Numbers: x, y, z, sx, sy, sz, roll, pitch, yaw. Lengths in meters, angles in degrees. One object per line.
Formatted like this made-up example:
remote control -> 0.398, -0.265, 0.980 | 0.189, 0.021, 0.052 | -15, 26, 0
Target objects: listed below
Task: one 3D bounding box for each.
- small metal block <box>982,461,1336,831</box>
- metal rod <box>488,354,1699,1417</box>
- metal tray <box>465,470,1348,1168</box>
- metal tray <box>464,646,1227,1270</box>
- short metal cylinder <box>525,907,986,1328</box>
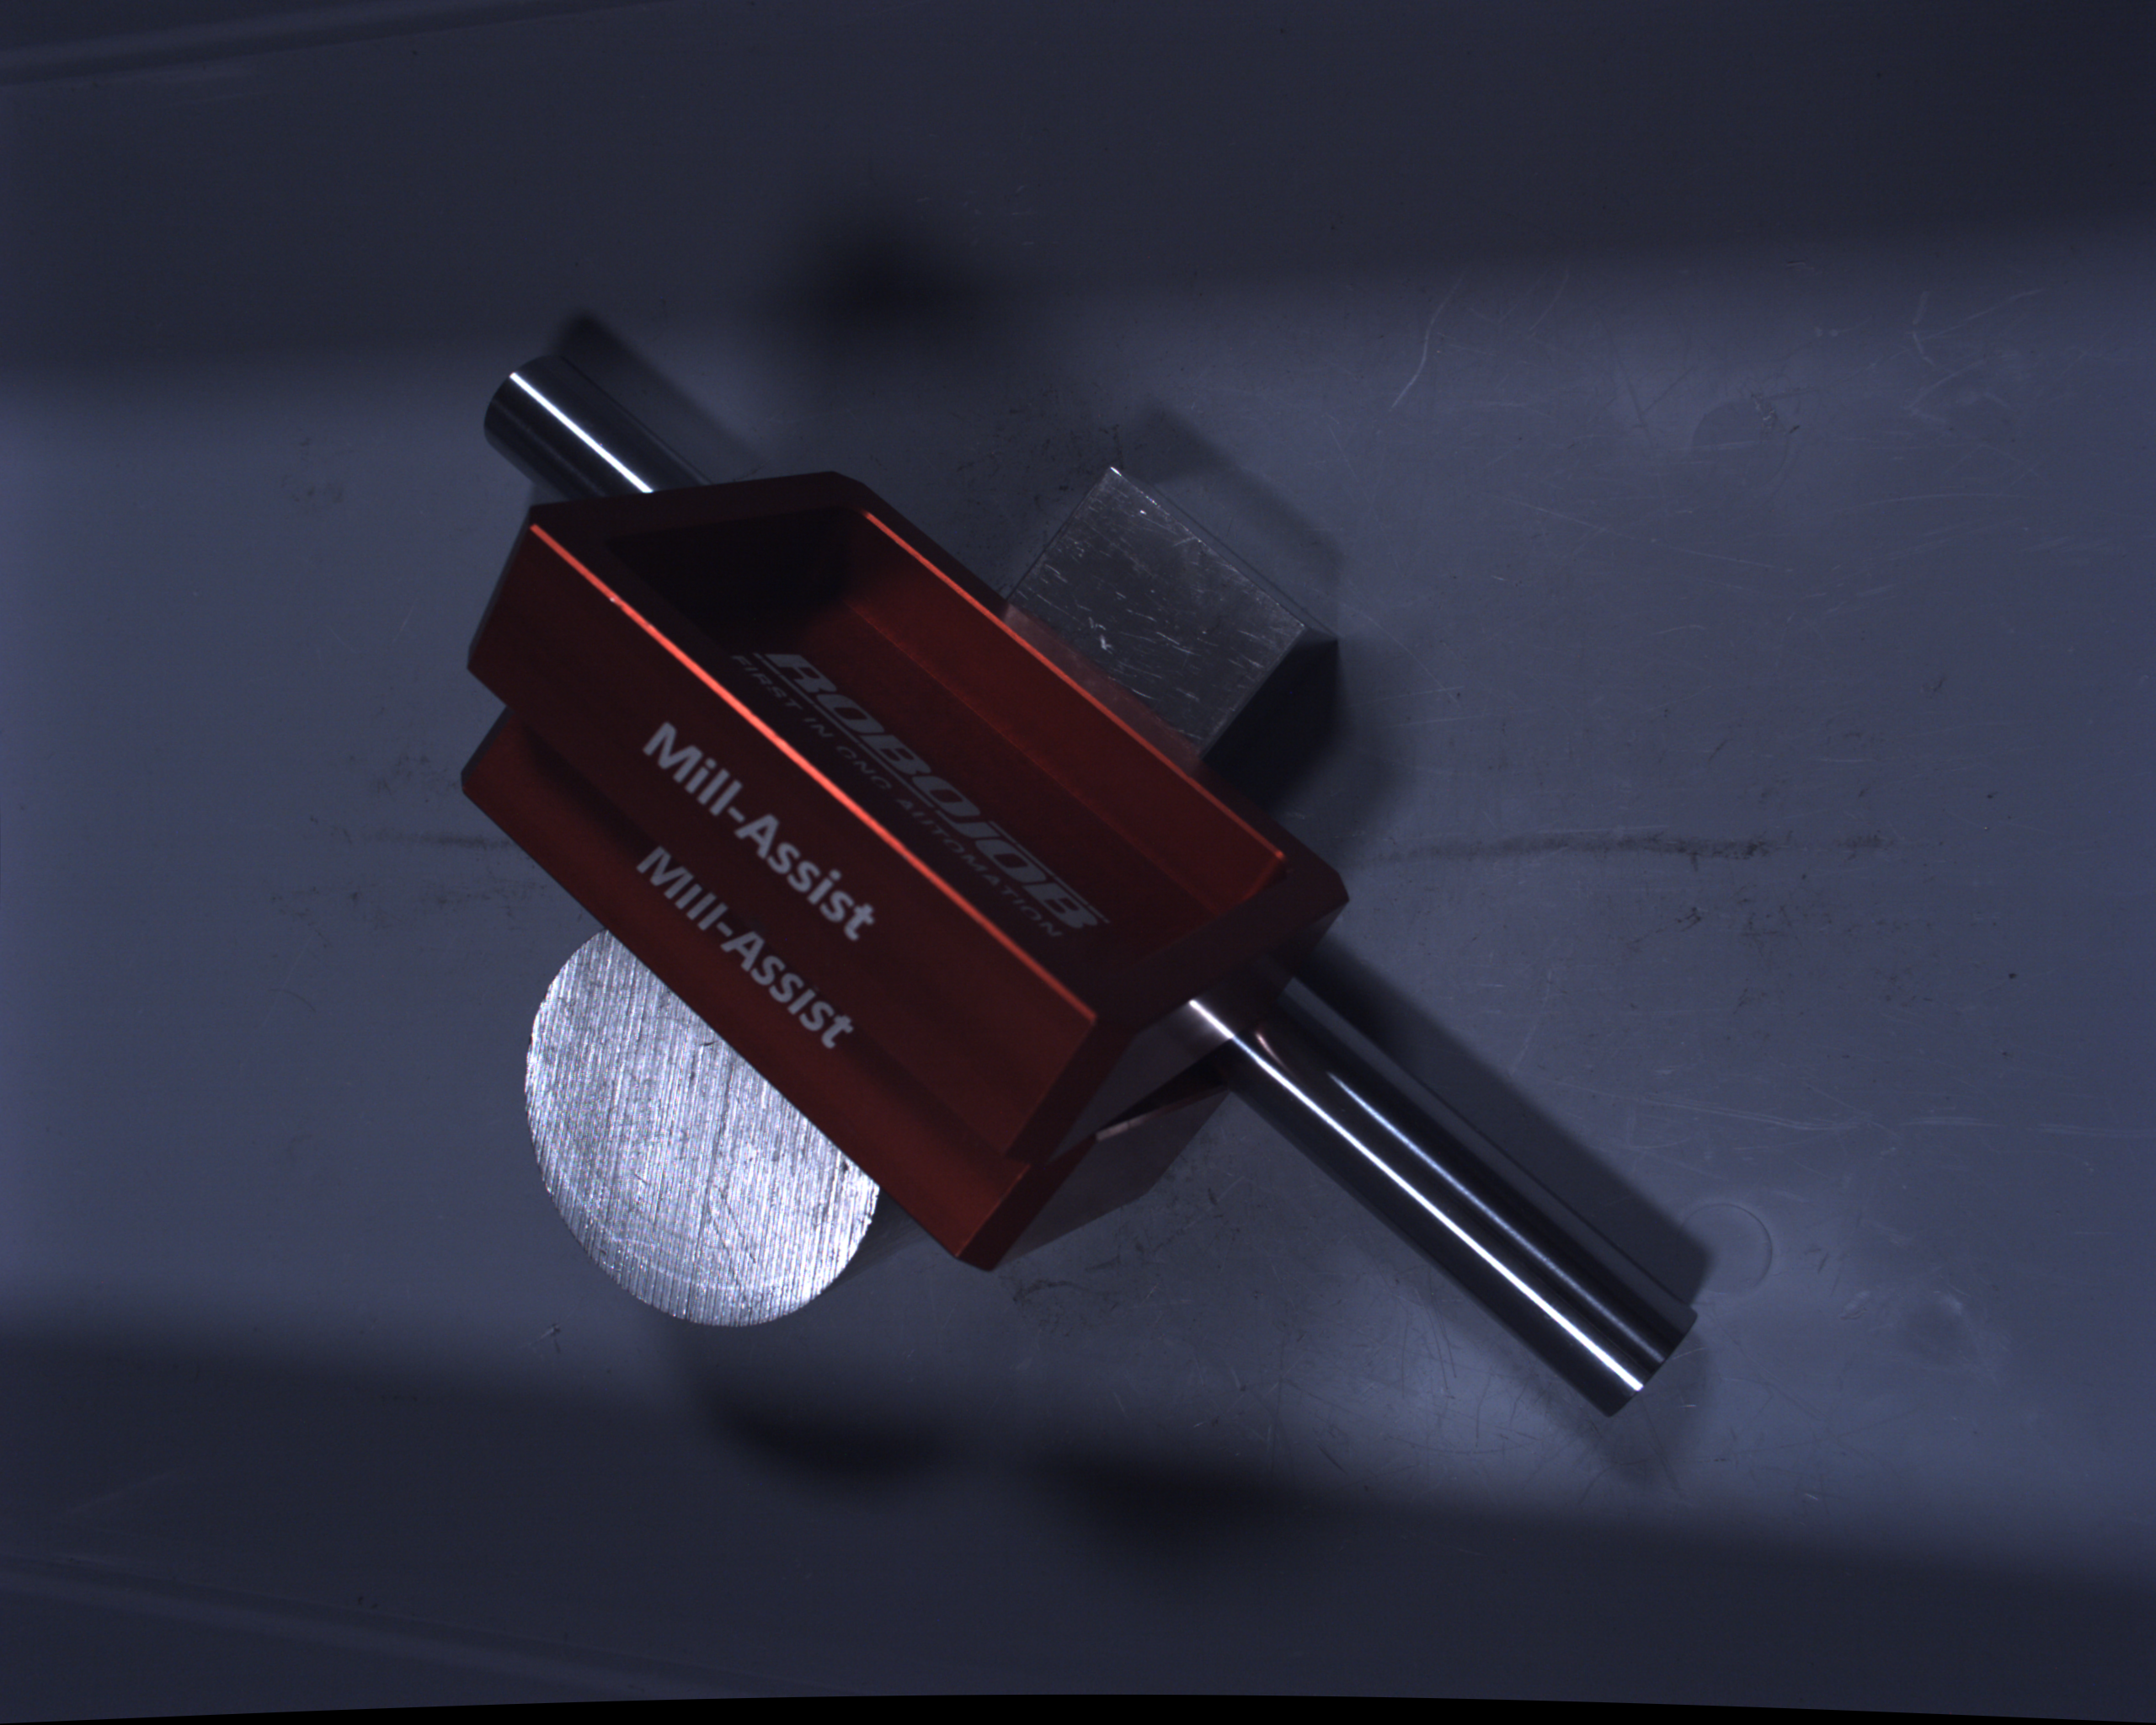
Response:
small metal block -> 0.013, -0.041, 0.404 | 0.050, 0.025, 0.050 | 42, 103, 14
metal rod -> -0.007, -0.005, 0.412 | 0.300, 0.025, 0.025 | 41, 103, 15
metal tray -> -0.027, -0.015, 0.356 | 0.130, 0.091, 0.030 | 41, 120, 15
metal tray -> -0.039, 0.014, 0.387 | 0.130, 0.090, 0.030 | 41, 103, 15
short metal cylinder -> -0.060, 0.045, 0.410 | 0.080, 0.050, 0.079 | 4, 98, 24
